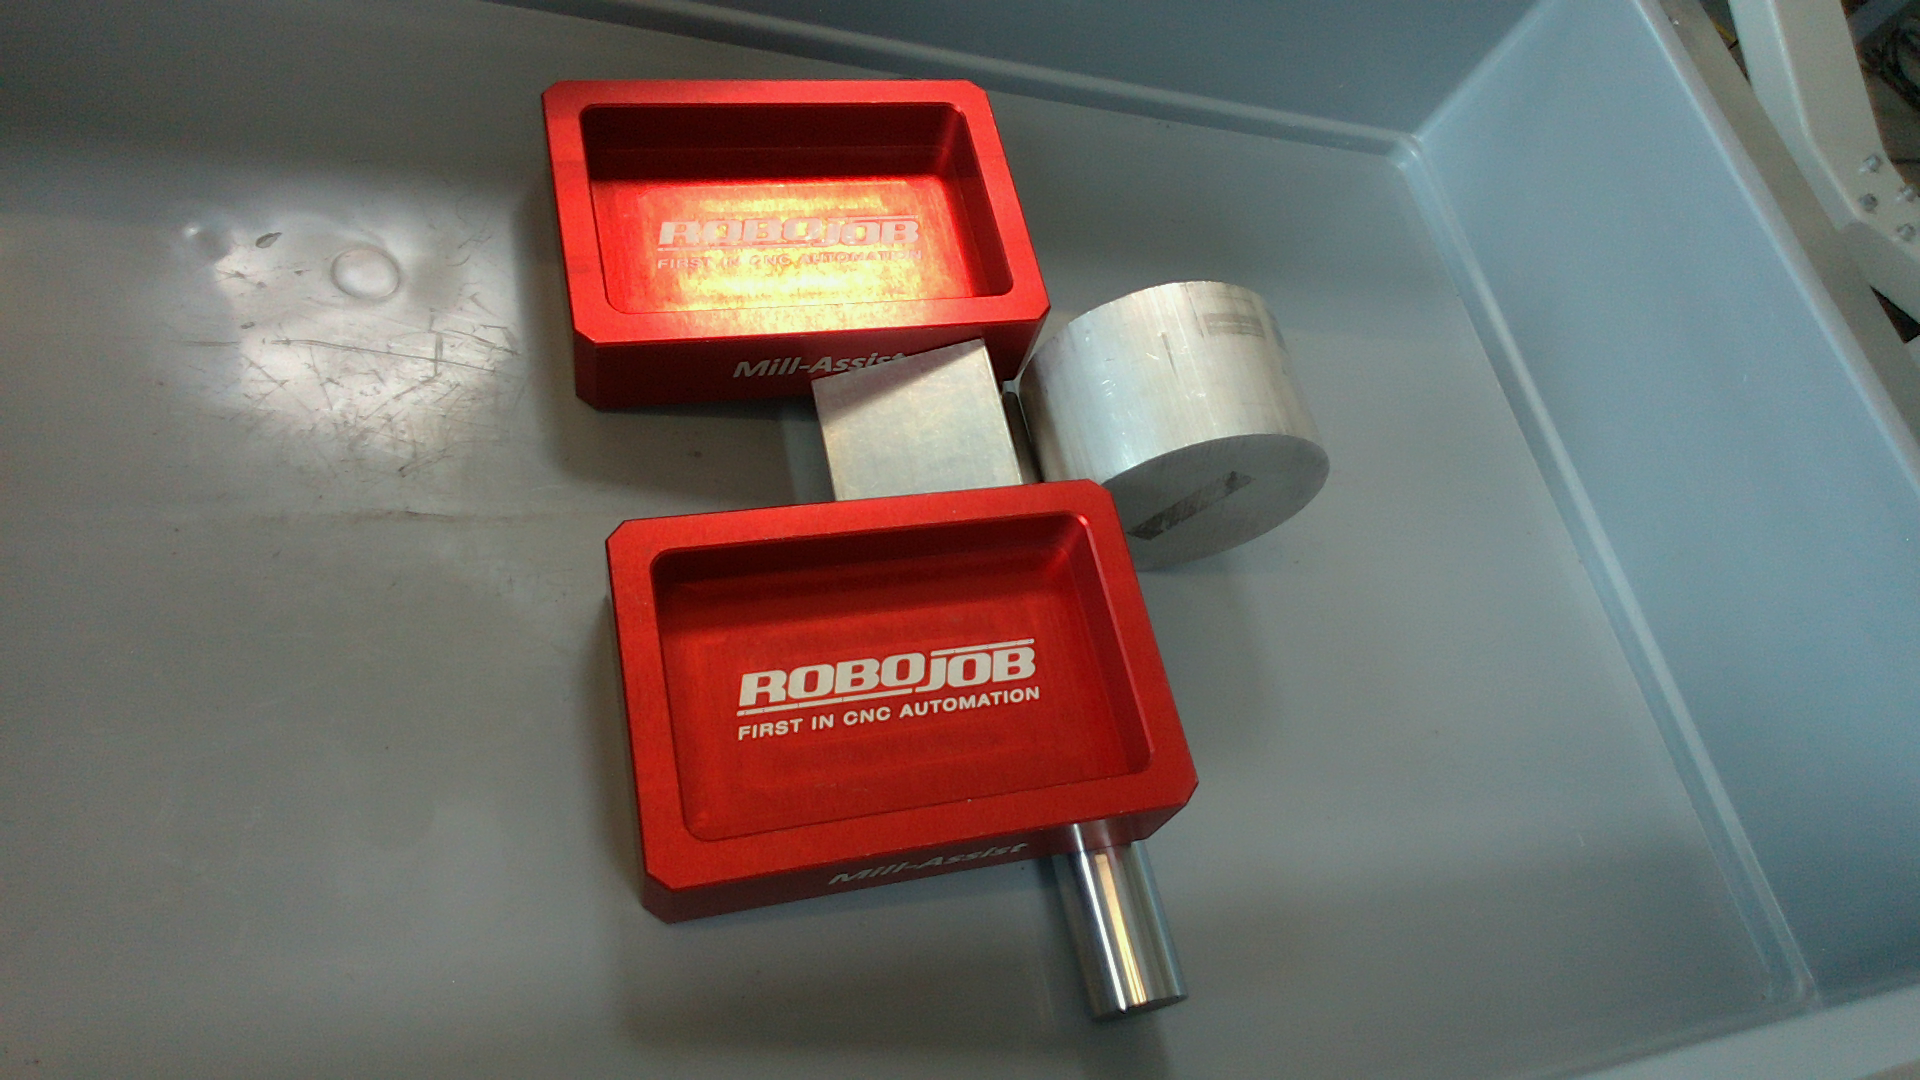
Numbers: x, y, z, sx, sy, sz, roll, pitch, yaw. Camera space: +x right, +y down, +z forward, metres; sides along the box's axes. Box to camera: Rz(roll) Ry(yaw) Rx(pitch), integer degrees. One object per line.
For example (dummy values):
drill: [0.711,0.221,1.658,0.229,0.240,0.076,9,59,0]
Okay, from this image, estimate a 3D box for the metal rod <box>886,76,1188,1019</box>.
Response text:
metal rod: [0.011,-0.016,0.404,0.025,0.025,0.300,0,61,-28]

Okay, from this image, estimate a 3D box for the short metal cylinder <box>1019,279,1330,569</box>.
short metal cylinder: [0.062,-0.032,0.406,0.080,0.080,0.050,0,61,-28]

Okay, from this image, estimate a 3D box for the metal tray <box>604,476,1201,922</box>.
metal tray: [-0.016,0.035,0.337,0.130,0.030,0.090,-6,64,-17]

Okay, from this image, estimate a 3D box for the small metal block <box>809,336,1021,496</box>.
small metal block: [-0.011,-0.024,0.383,0.050,0.025,0.050,-14,65,0]

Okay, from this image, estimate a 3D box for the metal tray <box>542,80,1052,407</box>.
metal tray: [-0.048,-0.088,0.395,0.130,0.030,0.090,-6,64,-17]
